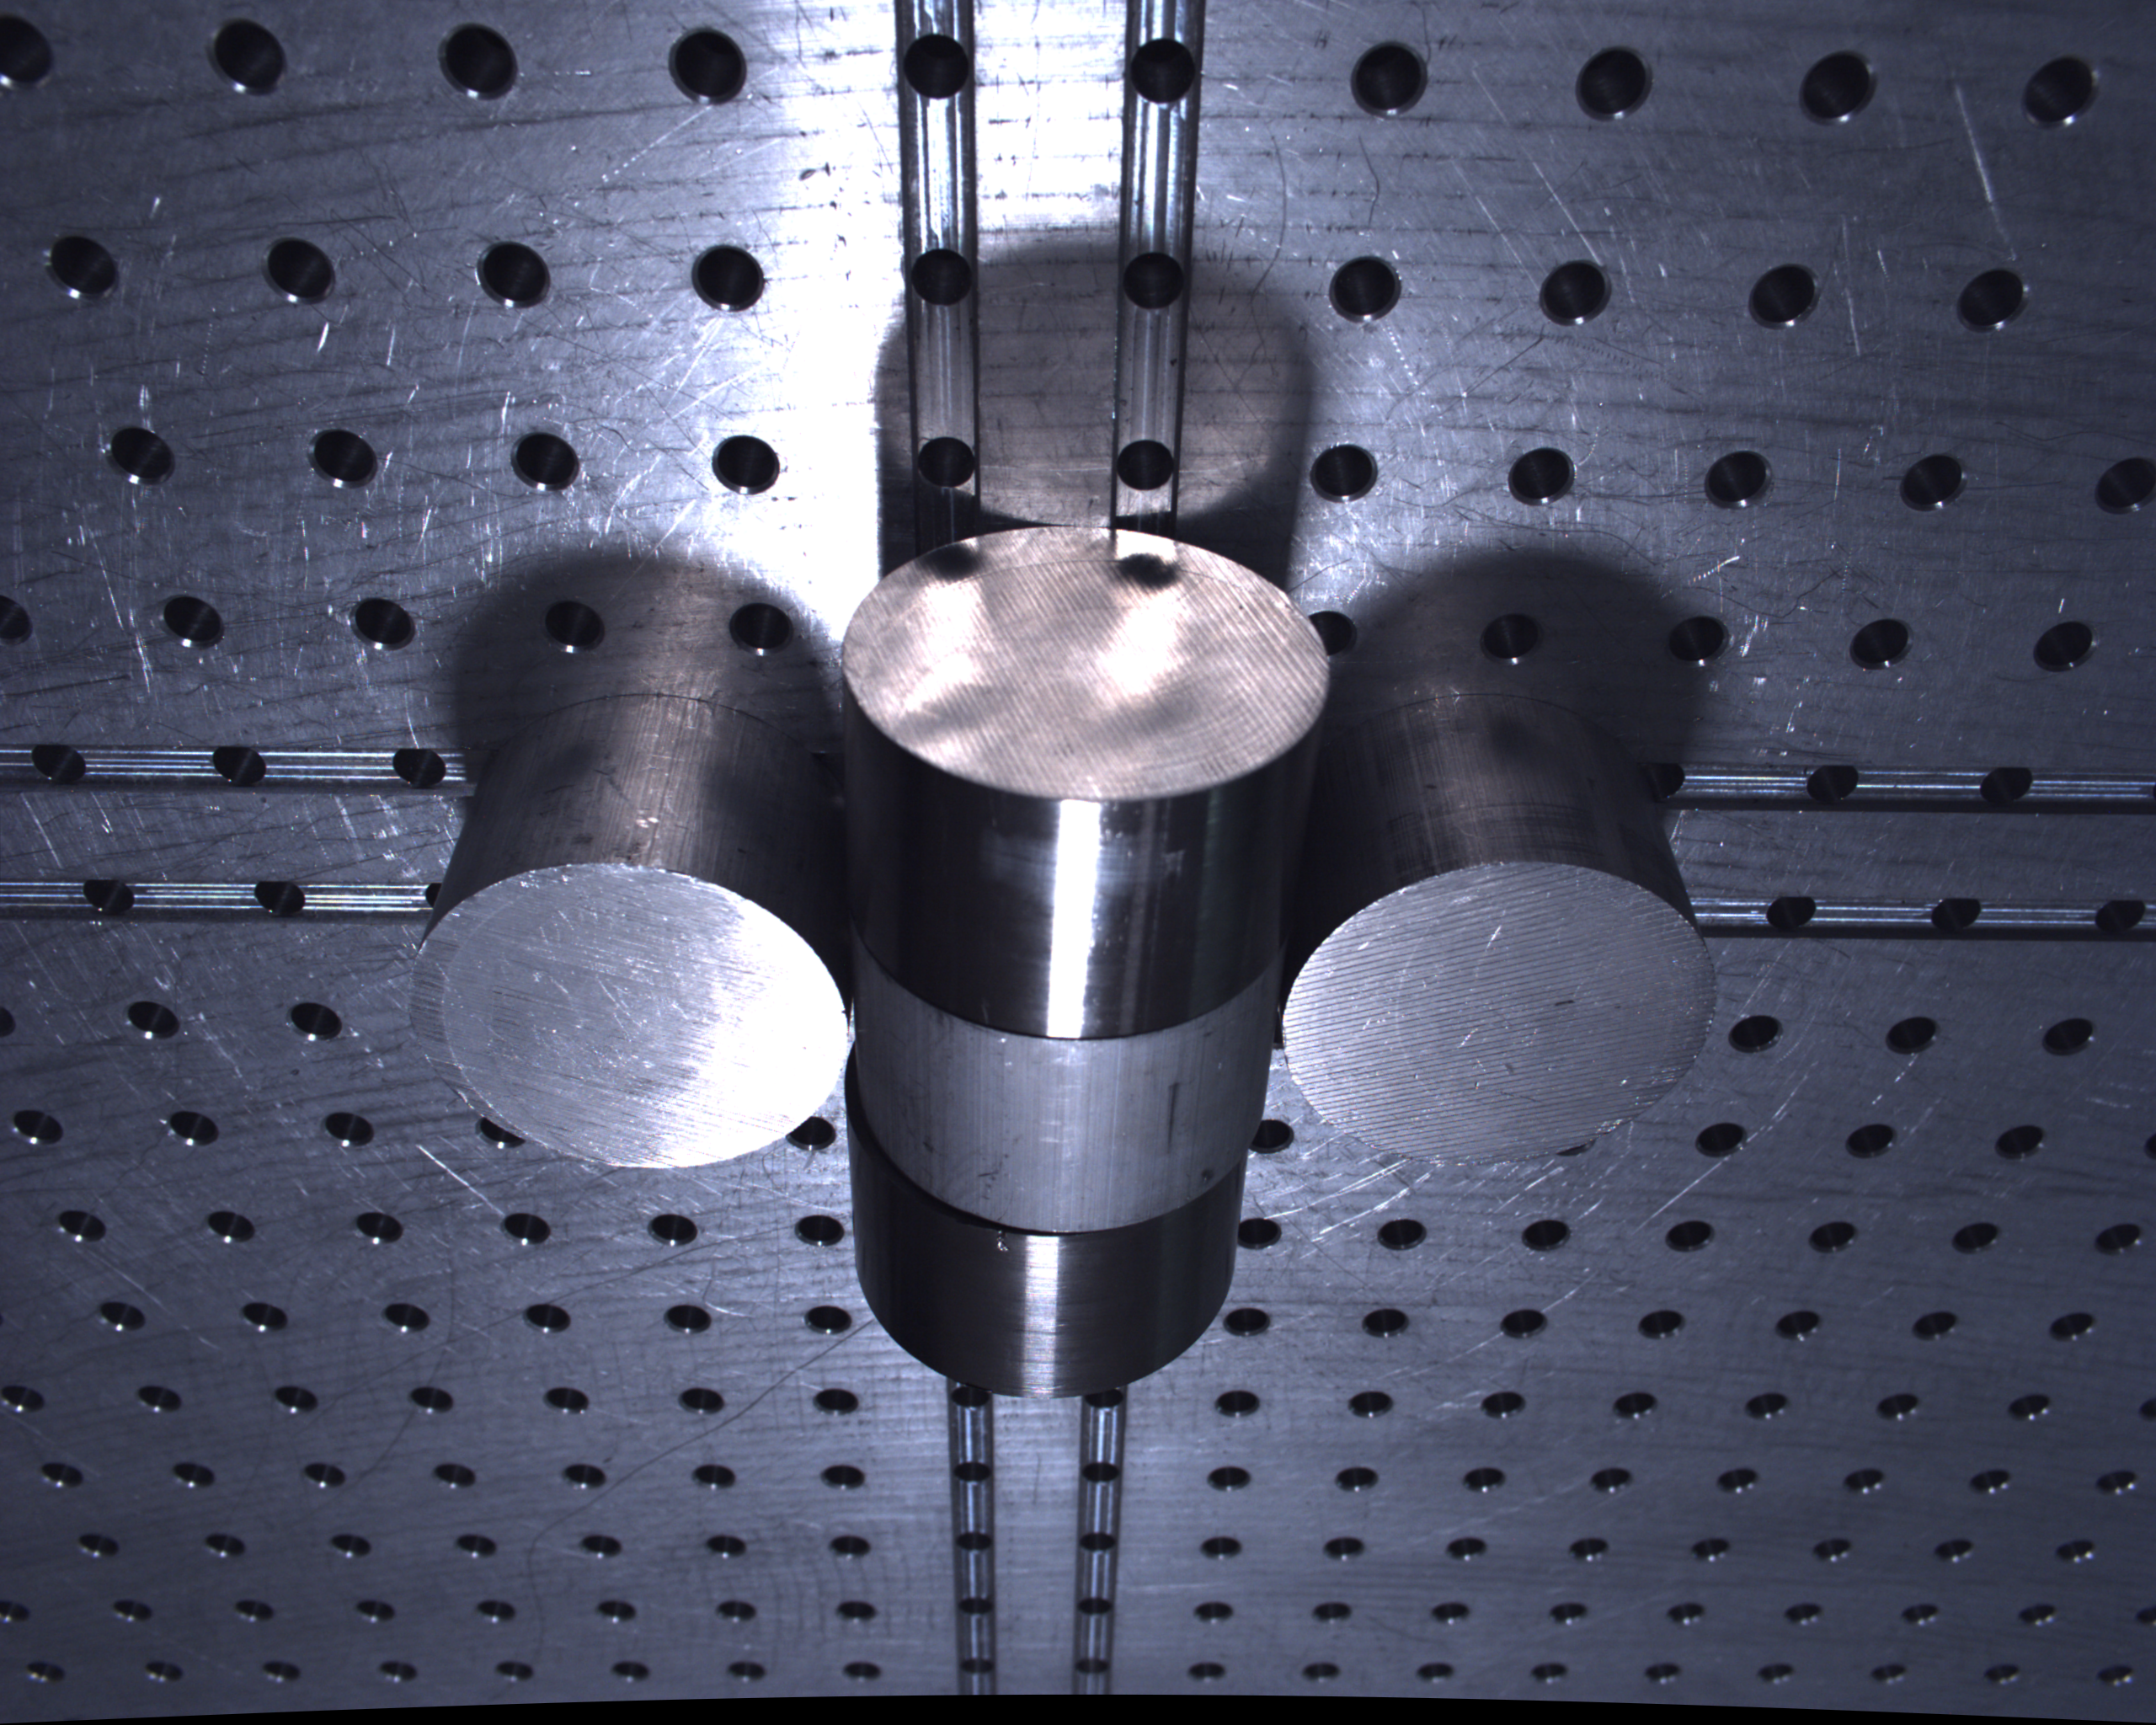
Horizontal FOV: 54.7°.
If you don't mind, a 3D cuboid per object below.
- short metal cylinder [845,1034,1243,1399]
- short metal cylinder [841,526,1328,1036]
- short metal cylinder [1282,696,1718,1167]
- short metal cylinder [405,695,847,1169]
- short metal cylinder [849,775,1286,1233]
[{"bbox_3d":[-0.006,0.062,0.427,0.081,0.080,0.050,1,130,-1],"label":"short metal cylinder"},{"bbox_3d":[0.000,-0.016,0.361,0.081,0.080,0.050,2,130,-2],"label":"short metal cylinder"},{"bbox_3d":[0.078,0.014,0.408,0.081,0.050,0.079,0,130,0],"label":"short metal cylinder"},{"bbox_3d":[-0.084,0.014,0.405,0.081,0.050,0.079,0,130,0],"label":"short metal cylinder"},{"bbox_3d":[-0.002,0.023,0.394,0.081,0.080,0.050,2,130,-2],"label":"short metal cylinder"}]
